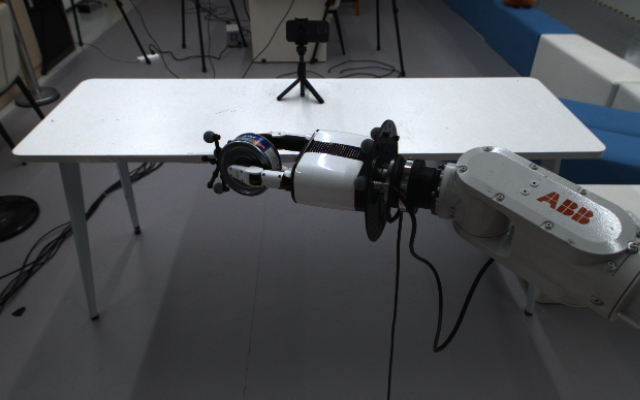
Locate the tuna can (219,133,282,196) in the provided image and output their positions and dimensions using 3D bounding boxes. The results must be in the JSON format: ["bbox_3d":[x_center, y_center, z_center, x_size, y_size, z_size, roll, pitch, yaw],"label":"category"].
[{"bbox_3d":[-0.099,-0.051,0.688,0.085,0.085,0.034,12,28,14],"label":"tuna can"}]
